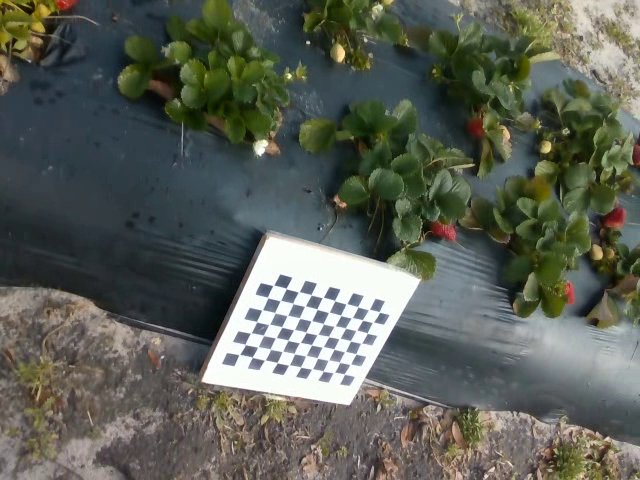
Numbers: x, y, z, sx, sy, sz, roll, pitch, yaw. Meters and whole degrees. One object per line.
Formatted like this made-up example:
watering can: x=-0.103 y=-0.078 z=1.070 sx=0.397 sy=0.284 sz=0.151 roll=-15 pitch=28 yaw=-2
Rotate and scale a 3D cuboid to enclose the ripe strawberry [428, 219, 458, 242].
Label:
ripe strawberry: x=0.214 y=-0.017 z=0.981 sx=0.051 sy=0.064 sz=0.043 roll=-37 pitch=31 yaw=-1
